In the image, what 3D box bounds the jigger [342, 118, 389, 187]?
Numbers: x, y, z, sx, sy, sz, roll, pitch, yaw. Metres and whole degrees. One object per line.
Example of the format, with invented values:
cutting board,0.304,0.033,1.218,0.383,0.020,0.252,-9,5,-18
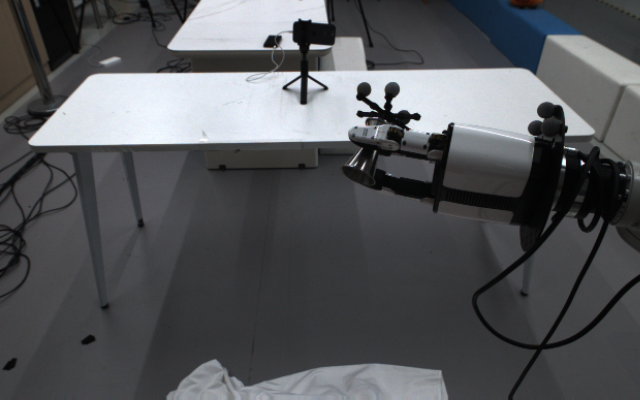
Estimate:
jigger,0.056,-0.059,0.557,0.043,0.043,0.071,20,73,24
